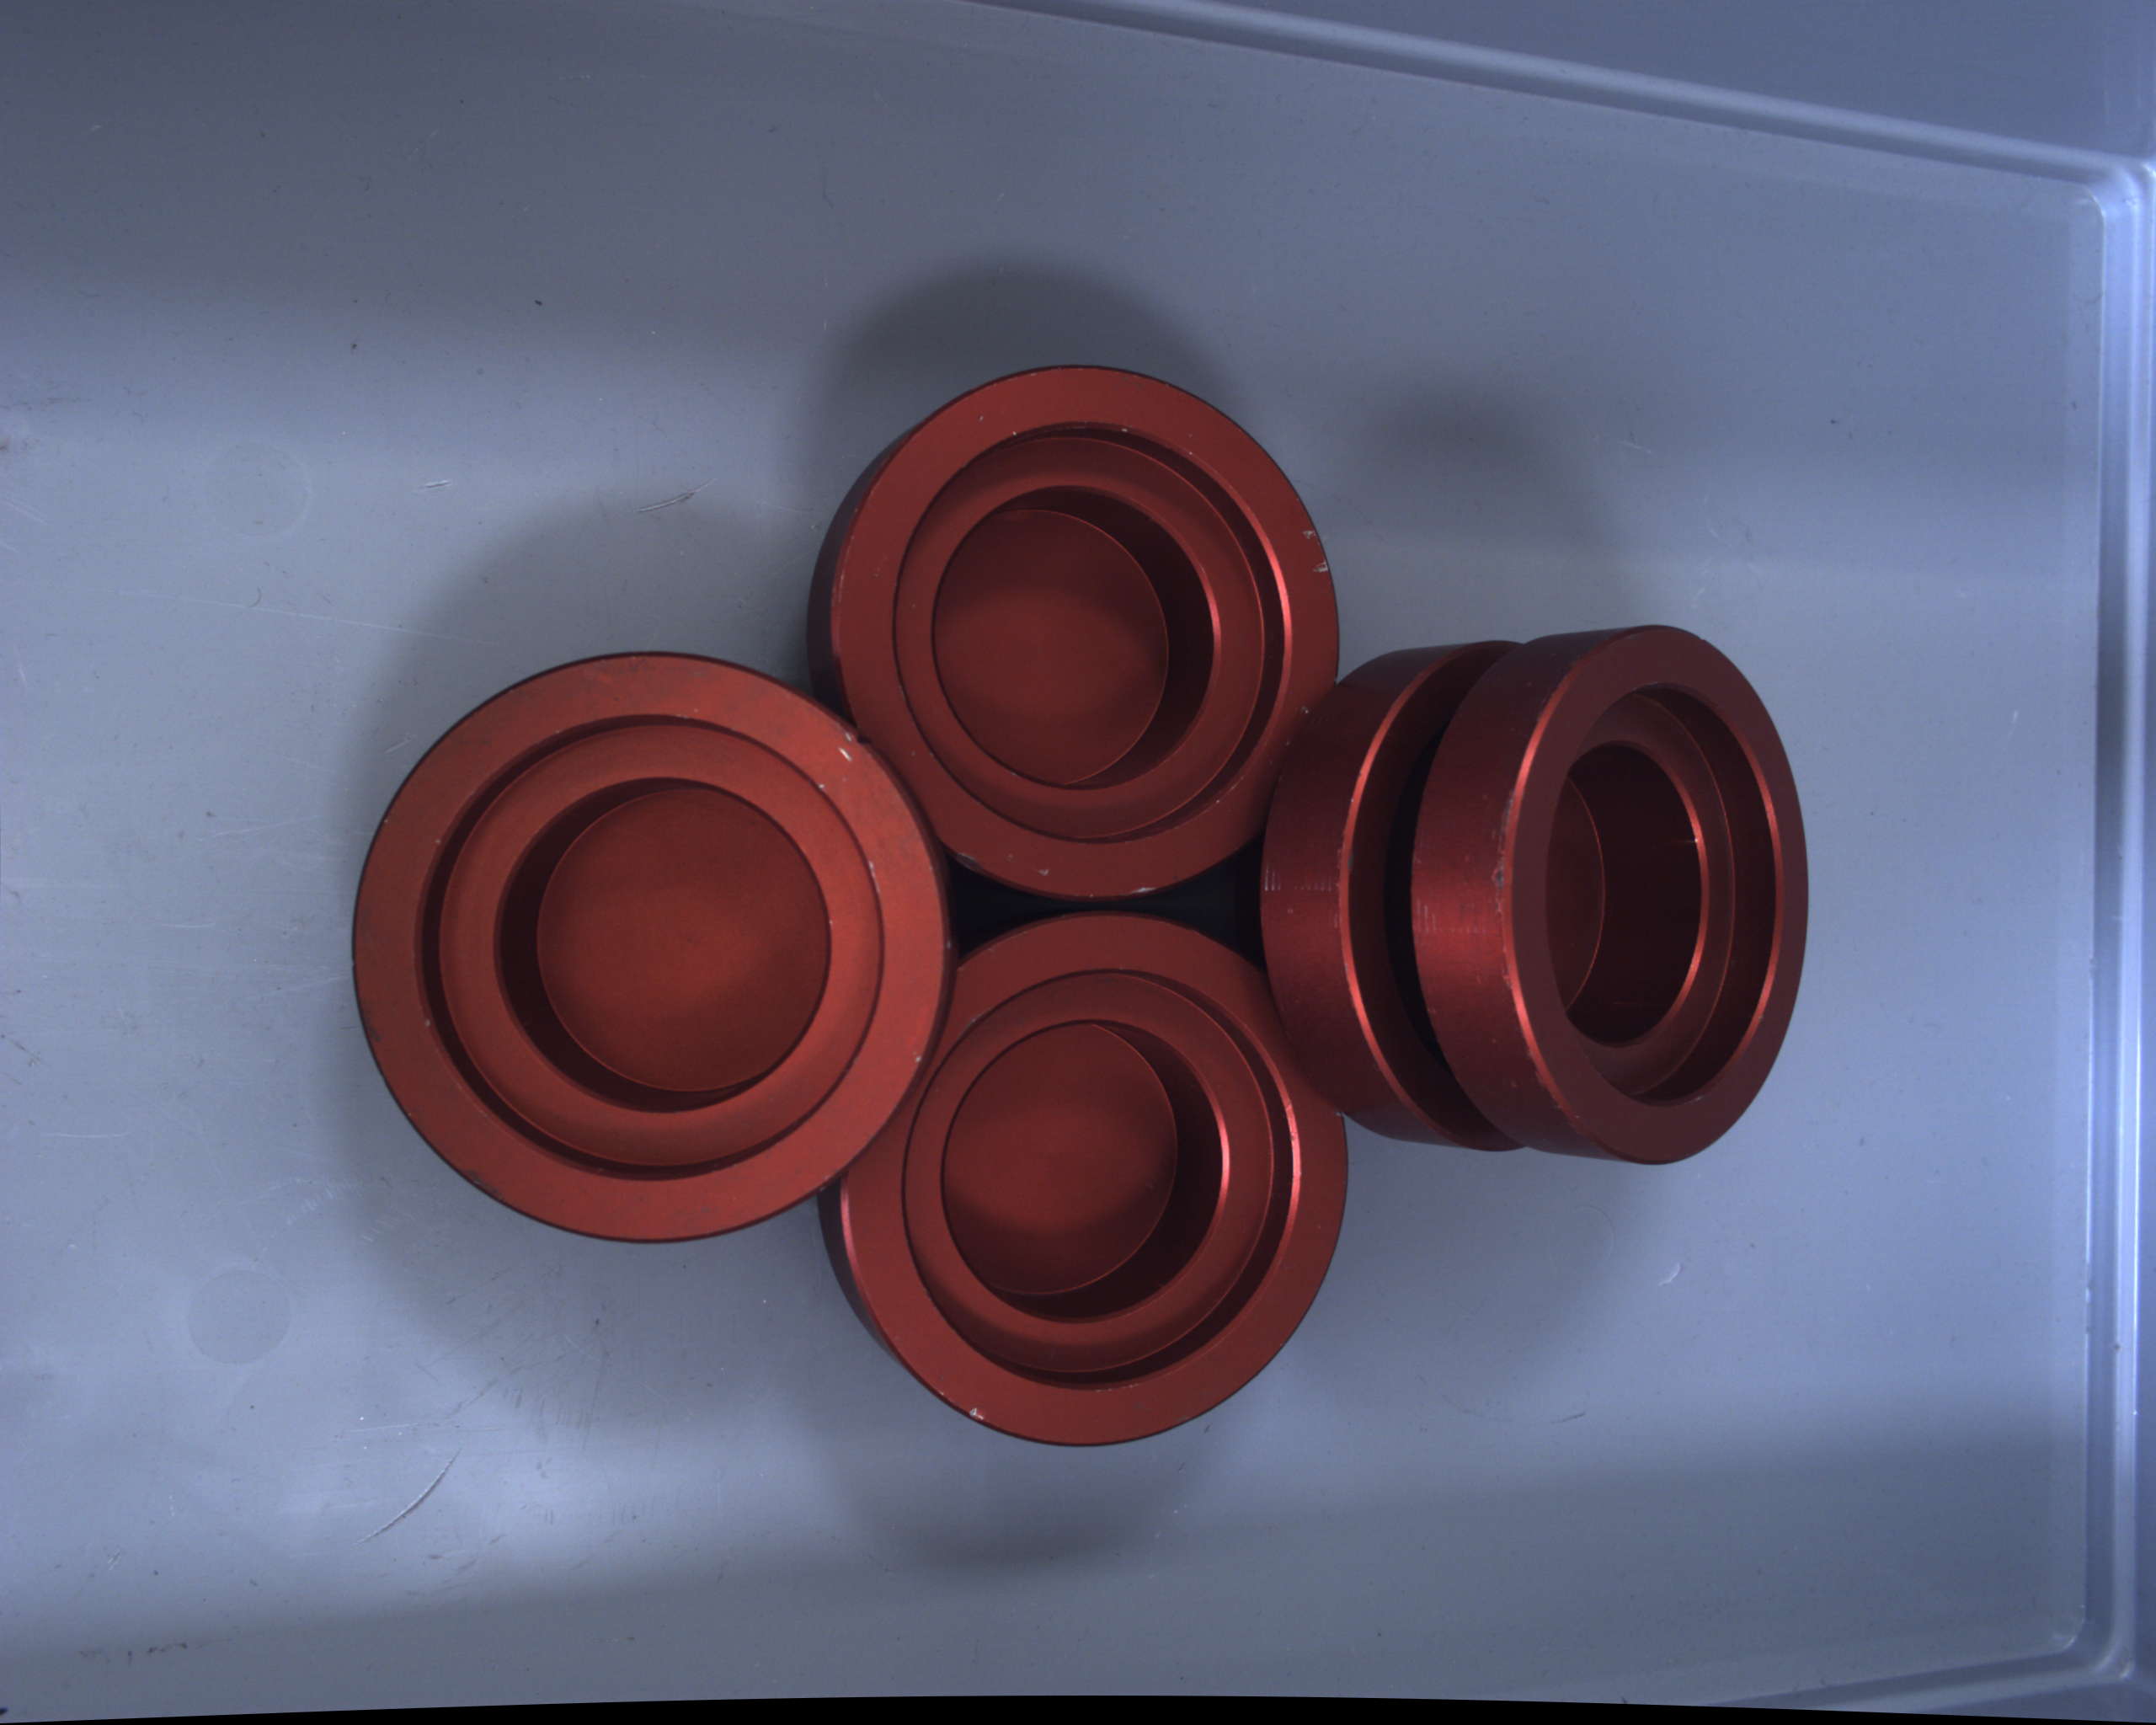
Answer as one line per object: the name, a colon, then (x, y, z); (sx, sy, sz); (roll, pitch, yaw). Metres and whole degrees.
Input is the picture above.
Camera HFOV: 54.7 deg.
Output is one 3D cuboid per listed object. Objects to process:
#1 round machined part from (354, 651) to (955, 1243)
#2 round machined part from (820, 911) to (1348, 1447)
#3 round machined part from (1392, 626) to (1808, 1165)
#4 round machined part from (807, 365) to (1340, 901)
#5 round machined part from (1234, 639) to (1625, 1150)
round machined part: (-0.070, 0.014, 0.363); (0.099, 0.042, 0.097); (0, 90, 1)
round machined part: (-0.002, 0.057, 0.398); (0.099, 0.042, 0.097); (0, 90, -20)
round machined part: (0.093, 0.006, 0.393); (0.099, 0.042, 0.097); (0, 90, -42)
round machined part: (-0.003, -0.042, 0.398); (0.099, 0.042, 0.097); (0, 90, -20)
round machined part: (0.069, 0.006, 0.414); (0.099, 0.042, 0.097); (1, 89, -42)
